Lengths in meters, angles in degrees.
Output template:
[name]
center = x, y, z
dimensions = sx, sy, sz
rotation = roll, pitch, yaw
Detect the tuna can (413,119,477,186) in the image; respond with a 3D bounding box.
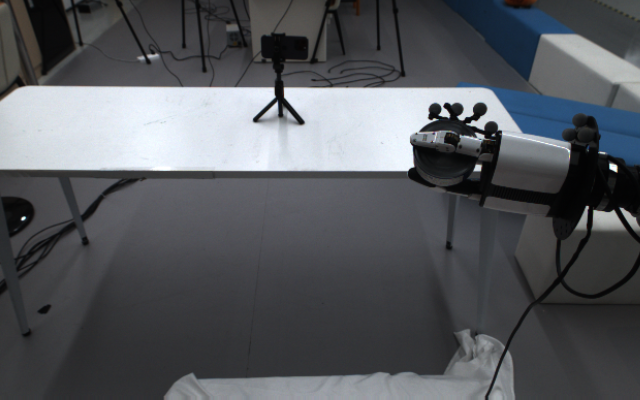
[tuna can]
center = 0.169, -0.066, 0.650
dimensions = 0.085, 0.034, 0.085
rotation = -4, 67, 10
